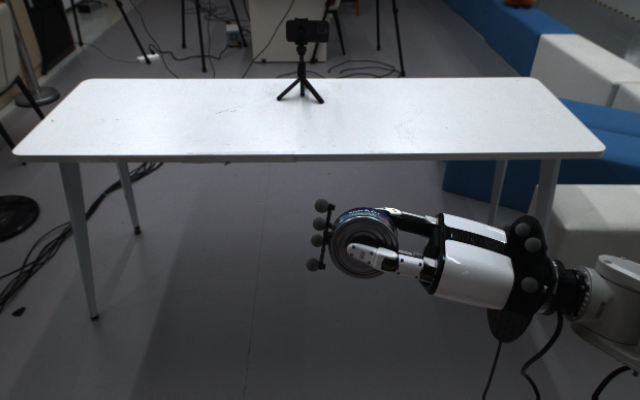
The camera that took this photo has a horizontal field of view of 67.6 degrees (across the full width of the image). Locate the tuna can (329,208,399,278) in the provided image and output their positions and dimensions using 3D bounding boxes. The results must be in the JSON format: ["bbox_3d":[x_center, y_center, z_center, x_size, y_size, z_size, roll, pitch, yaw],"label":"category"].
[{"bbox_3d":[0.057,0.057,0.596,0.085,0.085,0.034,4,17,3],"label":"tuna can"}]
